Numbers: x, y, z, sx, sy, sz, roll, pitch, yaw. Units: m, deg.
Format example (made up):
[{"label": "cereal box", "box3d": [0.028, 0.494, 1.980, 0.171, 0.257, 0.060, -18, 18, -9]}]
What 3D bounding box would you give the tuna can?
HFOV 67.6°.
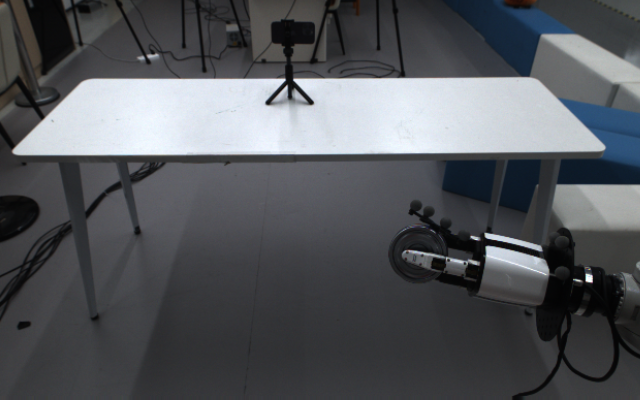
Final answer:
[{"label": "tuna can", "box3d": [0.147, 0.077, 0.711, 0.085, 0.085, 0.034, 13, 5, 15]}]
